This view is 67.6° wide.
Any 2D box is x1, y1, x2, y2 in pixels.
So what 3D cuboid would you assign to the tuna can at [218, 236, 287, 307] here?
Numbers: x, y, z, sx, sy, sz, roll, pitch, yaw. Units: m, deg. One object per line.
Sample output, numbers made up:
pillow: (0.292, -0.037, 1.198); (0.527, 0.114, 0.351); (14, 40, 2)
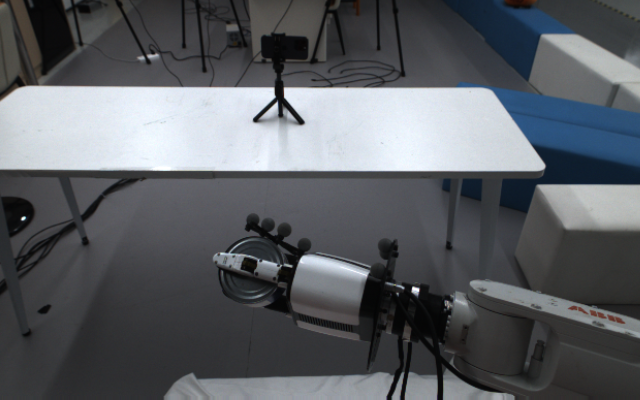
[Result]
tuna can: (-0.080, 0.089, 0.608); (0.085, 0.034, 0.085); (-4, 67, 10)
